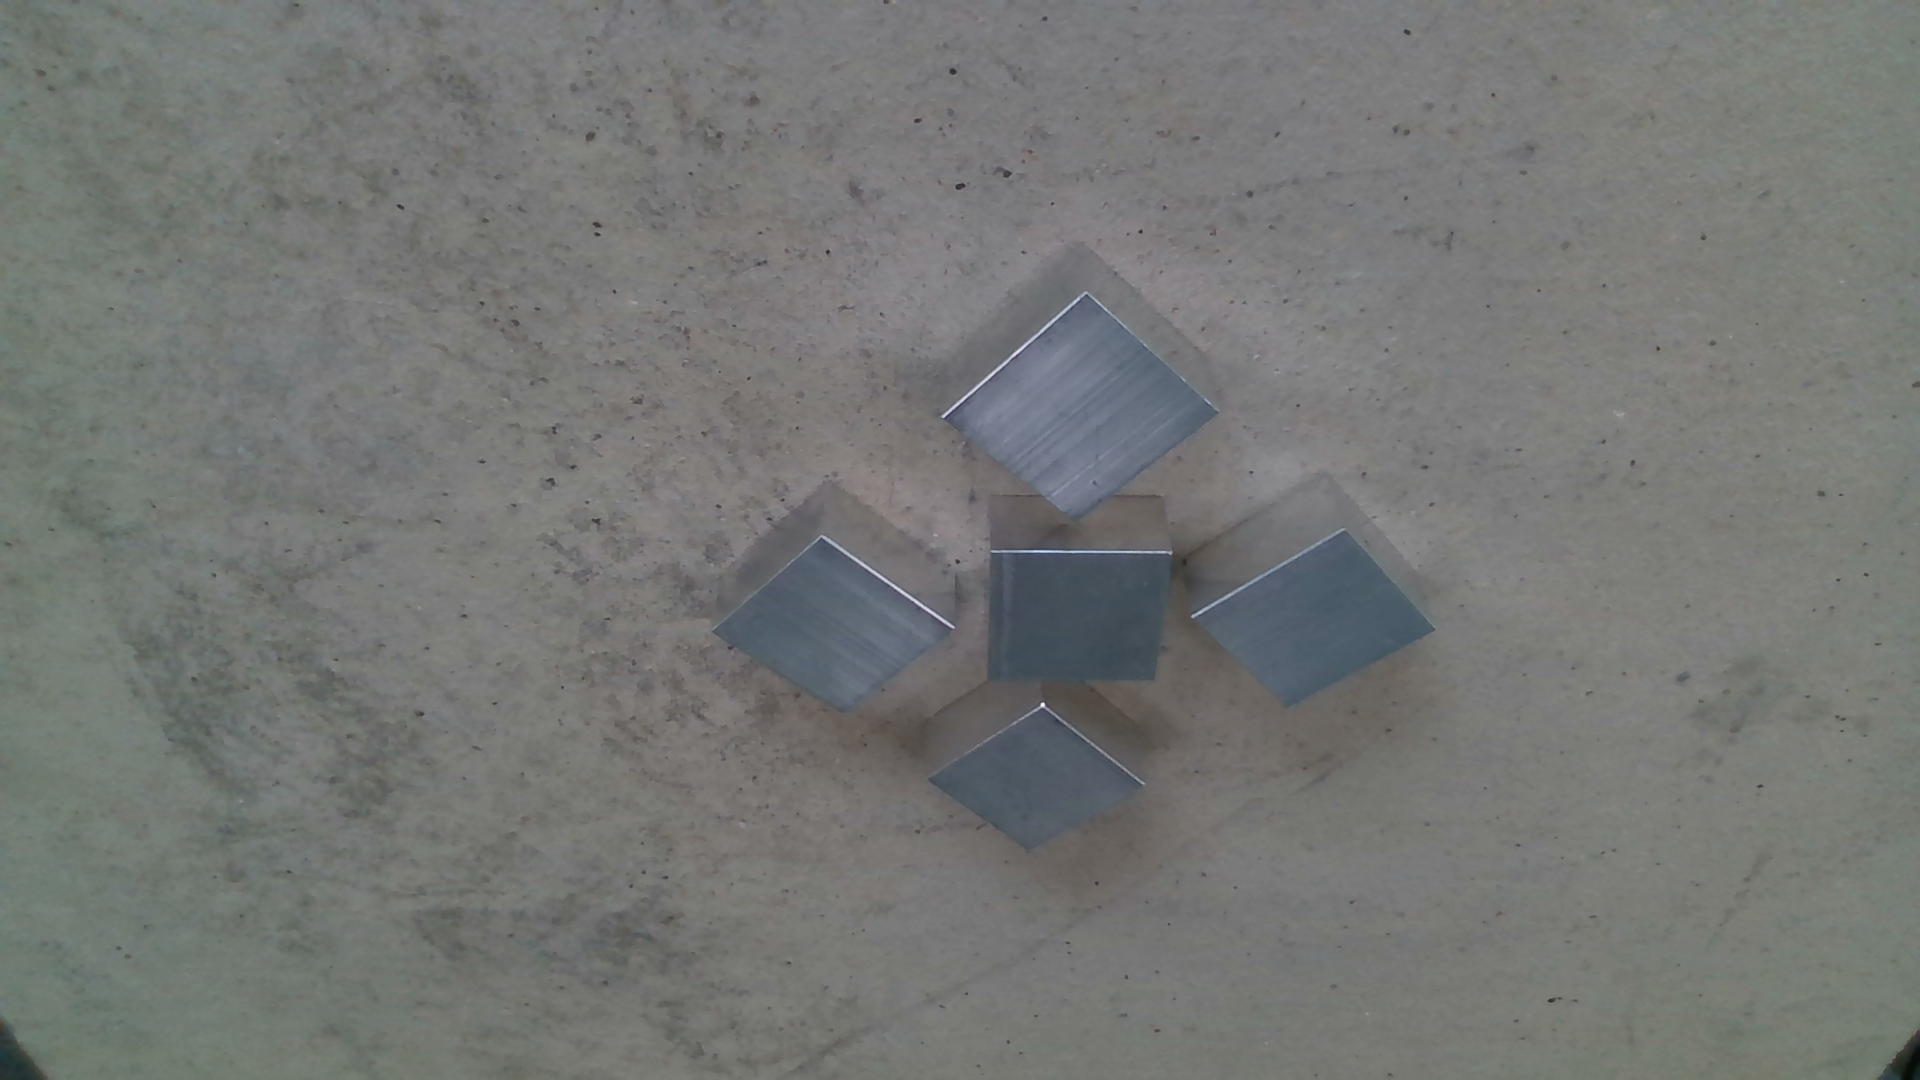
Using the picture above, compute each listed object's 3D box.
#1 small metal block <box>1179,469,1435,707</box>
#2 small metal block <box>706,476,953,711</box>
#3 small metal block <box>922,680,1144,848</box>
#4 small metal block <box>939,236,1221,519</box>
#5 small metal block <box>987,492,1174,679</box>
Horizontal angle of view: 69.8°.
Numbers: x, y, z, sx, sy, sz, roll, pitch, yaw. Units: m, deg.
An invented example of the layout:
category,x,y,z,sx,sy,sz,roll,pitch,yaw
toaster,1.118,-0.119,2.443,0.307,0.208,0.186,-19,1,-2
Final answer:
category,x,y,z,sx,sy,sz,roll,pitch,yaw
small metal block,0.100,0.015,0.401,0.050,0.025,0.050,-34,123,24
small metal block,-0.037,0.017,0.403,0.050,0.025,0.050,36,122,-27
small metal block,0.023,0.068,0.447,0.050,0.025,0.050,-36,121,26
small metal block,0.030,-0.040,0.355,0.050,0.025,0.050,35,122,-27
small metal block,0.033,0.014,0.400,0.050,0.025,0.050,0,130,0
